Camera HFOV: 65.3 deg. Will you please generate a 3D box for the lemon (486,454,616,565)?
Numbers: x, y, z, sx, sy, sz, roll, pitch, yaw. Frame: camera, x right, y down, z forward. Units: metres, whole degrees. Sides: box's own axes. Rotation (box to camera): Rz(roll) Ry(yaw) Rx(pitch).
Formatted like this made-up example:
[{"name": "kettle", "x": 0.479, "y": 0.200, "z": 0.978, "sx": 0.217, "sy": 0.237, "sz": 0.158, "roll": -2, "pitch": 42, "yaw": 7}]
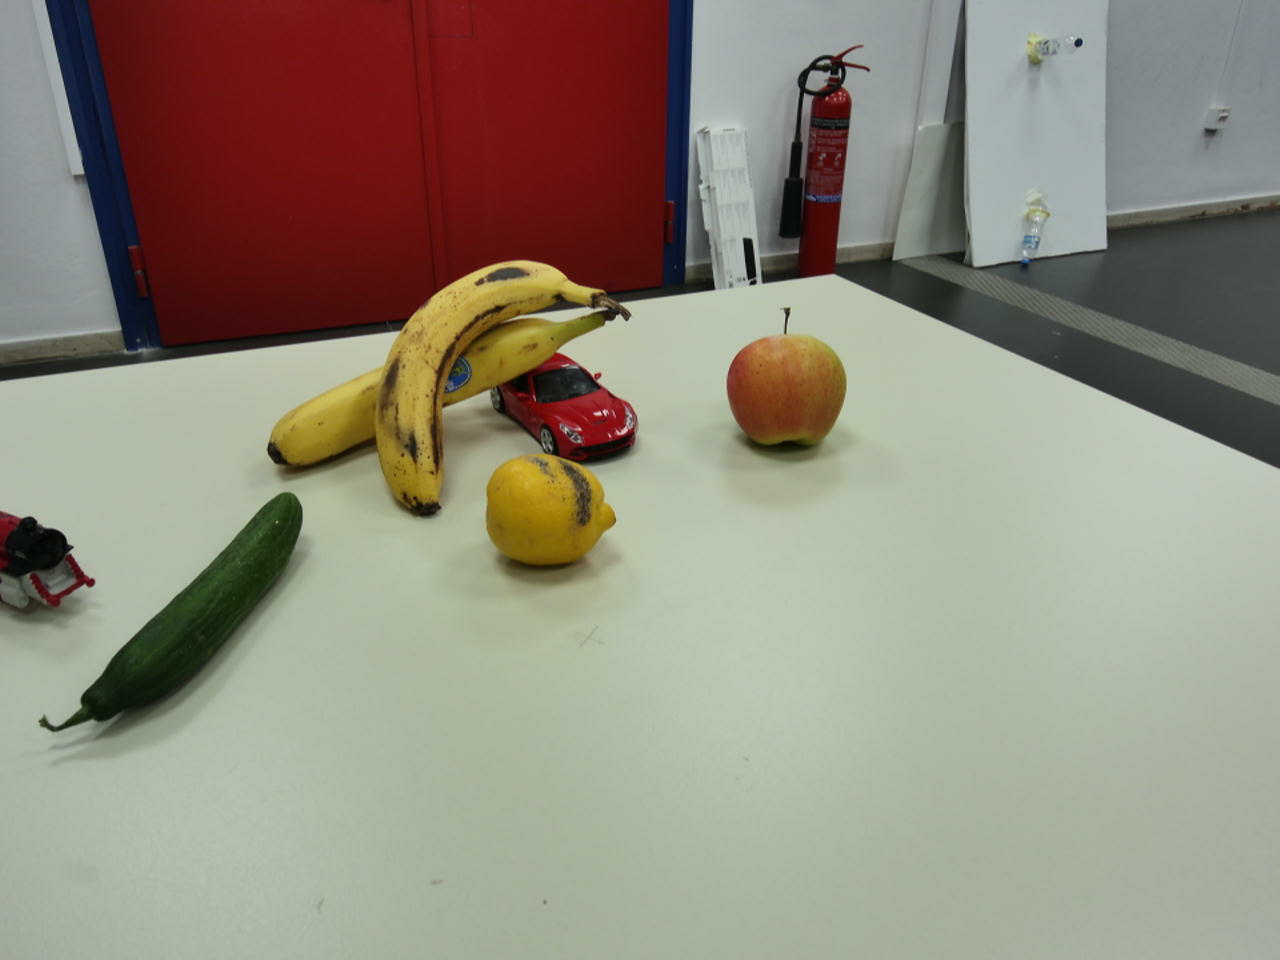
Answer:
[{"name": "lemon", "x": -0.049, "y": 0.015, "z": 0.506, "sx": 0.061, "sy": 0.056, "sz": 0.058, "roll": -16, "pitch": 30, "yaw": -30}]
